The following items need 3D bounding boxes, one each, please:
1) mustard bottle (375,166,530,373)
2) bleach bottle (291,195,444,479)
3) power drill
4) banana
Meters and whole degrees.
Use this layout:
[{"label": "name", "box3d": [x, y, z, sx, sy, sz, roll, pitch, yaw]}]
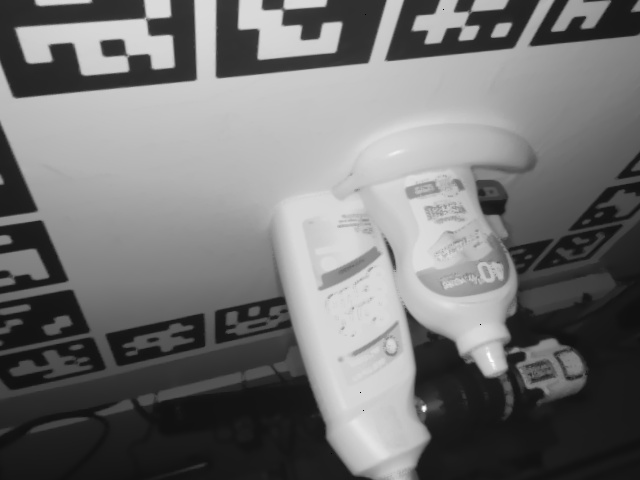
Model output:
[{"label": "mustard bottle", "box3d": [0.117, 0.019, 0.569, 0.097, 0.192, 0.058, -9, 146, -14]}, {"label": "bleach bottle", "box3d": [0.050, 0.084, 0.585, 0.104, 0.251, 0.067, -8, 151, -16]}, {"label": "power drill", "box3d": [0.155, 0.070, 0.625, 0.187, 0.187, 0.056, -1, 144, -23]}, {"label": "banana", "box3d": [0.116, -0.070, 0.597, 0.200, 0.039, 0.073, -9, 145, -20]}]
